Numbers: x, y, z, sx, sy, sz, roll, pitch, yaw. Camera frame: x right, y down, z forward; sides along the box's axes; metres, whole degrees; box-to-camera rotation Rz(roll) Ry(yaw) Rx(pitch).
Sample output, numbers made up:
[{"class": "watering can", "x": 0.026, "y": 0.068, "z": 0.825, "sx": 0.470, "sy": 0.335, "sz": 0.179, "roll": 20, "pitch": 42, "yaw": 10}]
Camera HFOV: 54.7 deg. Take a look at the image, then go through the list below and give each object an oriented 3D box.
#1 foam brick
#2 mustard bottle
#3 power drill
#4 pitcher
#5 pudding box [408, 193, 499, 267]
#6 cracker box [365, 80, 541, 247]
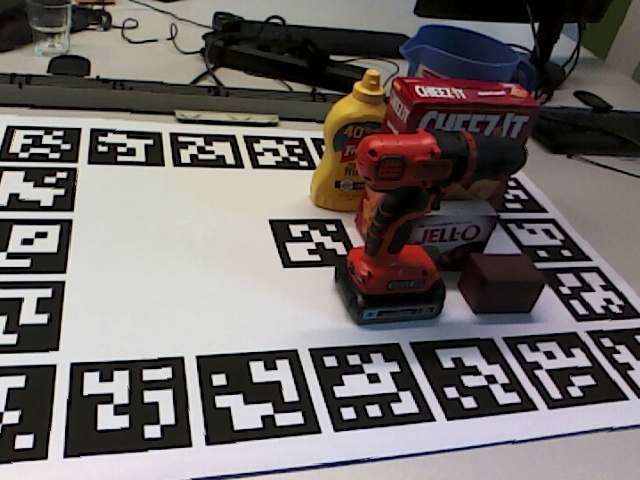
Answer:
[{"class": "foam brick", "x": 0.216, "y": 0.053, "z": 0.747, "sx": 0.078, "sy": 0.051, "sz": 0.053, "roll": 1, "pitch": 40, "yaw": -15}, {"class": "mustard bottle", "x": 0.050, "y": -0.143, "z": 0.822, "sx": 0.096, "sy": 0.191, "sz": 0.058, "roll": 8, "pitch": 38, "yaw": -6}, {"class": "power drill", "x": 0.119, "y": -0.027, "z": 0.655, "sx": 0.184, "sy": 0.187, "sz": 0.058, "roll": -1, "pitch": 36, "yaw": -18}, {"class": "pitcher", "x": 0.179, "y": -0.153, "z": 0.853, "sx": 0.188, "sy": 0.242, "sz": 0.134, "roll": 2, "pitch": 38, "yaw": -10}, {"class": "pudding box", "x": 0.152, "y": -0.012, "z": 0.760, "sx": 0.113, "sy": 0.090, "sz": 0.039, "roll": -2, "pitch": 38, "yaw": -14}, {"class": "cracker box", "x": 0.157, "y": -0.085, "z": 0.766, "sx": 0.163, "sy": 0.213, "sz": 0.072, "roll": -4, "pitch": 38, "yaw": -17}]
